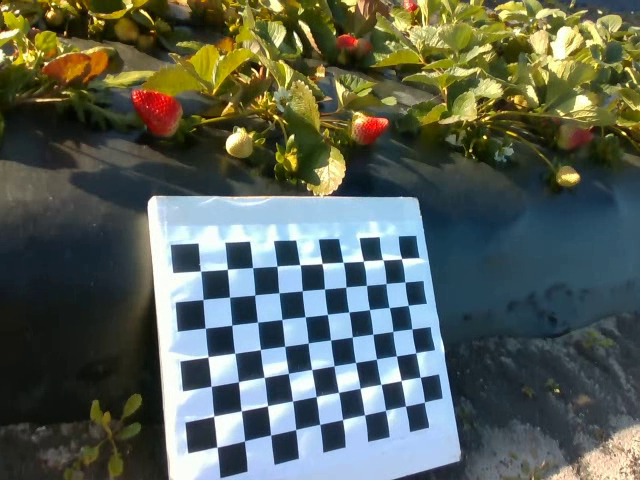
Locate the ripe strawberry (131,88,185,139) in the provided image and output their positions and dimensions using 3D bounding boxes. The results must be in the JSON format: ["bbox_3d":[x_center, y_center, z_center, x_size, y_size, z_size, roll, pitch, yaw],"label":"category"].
[{"bbox_3d":[-0.138,-0.109,0.479,0.053,0.044,0.036,30,-24,-28],"label":"ripe strawberry"}]

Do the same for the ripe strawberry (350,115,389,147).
[{"bbox_3d":[0.050,-0.110,0.571,0.045,0.037,0.042,-23,0,31],"label":"ripe strawberry"}]
